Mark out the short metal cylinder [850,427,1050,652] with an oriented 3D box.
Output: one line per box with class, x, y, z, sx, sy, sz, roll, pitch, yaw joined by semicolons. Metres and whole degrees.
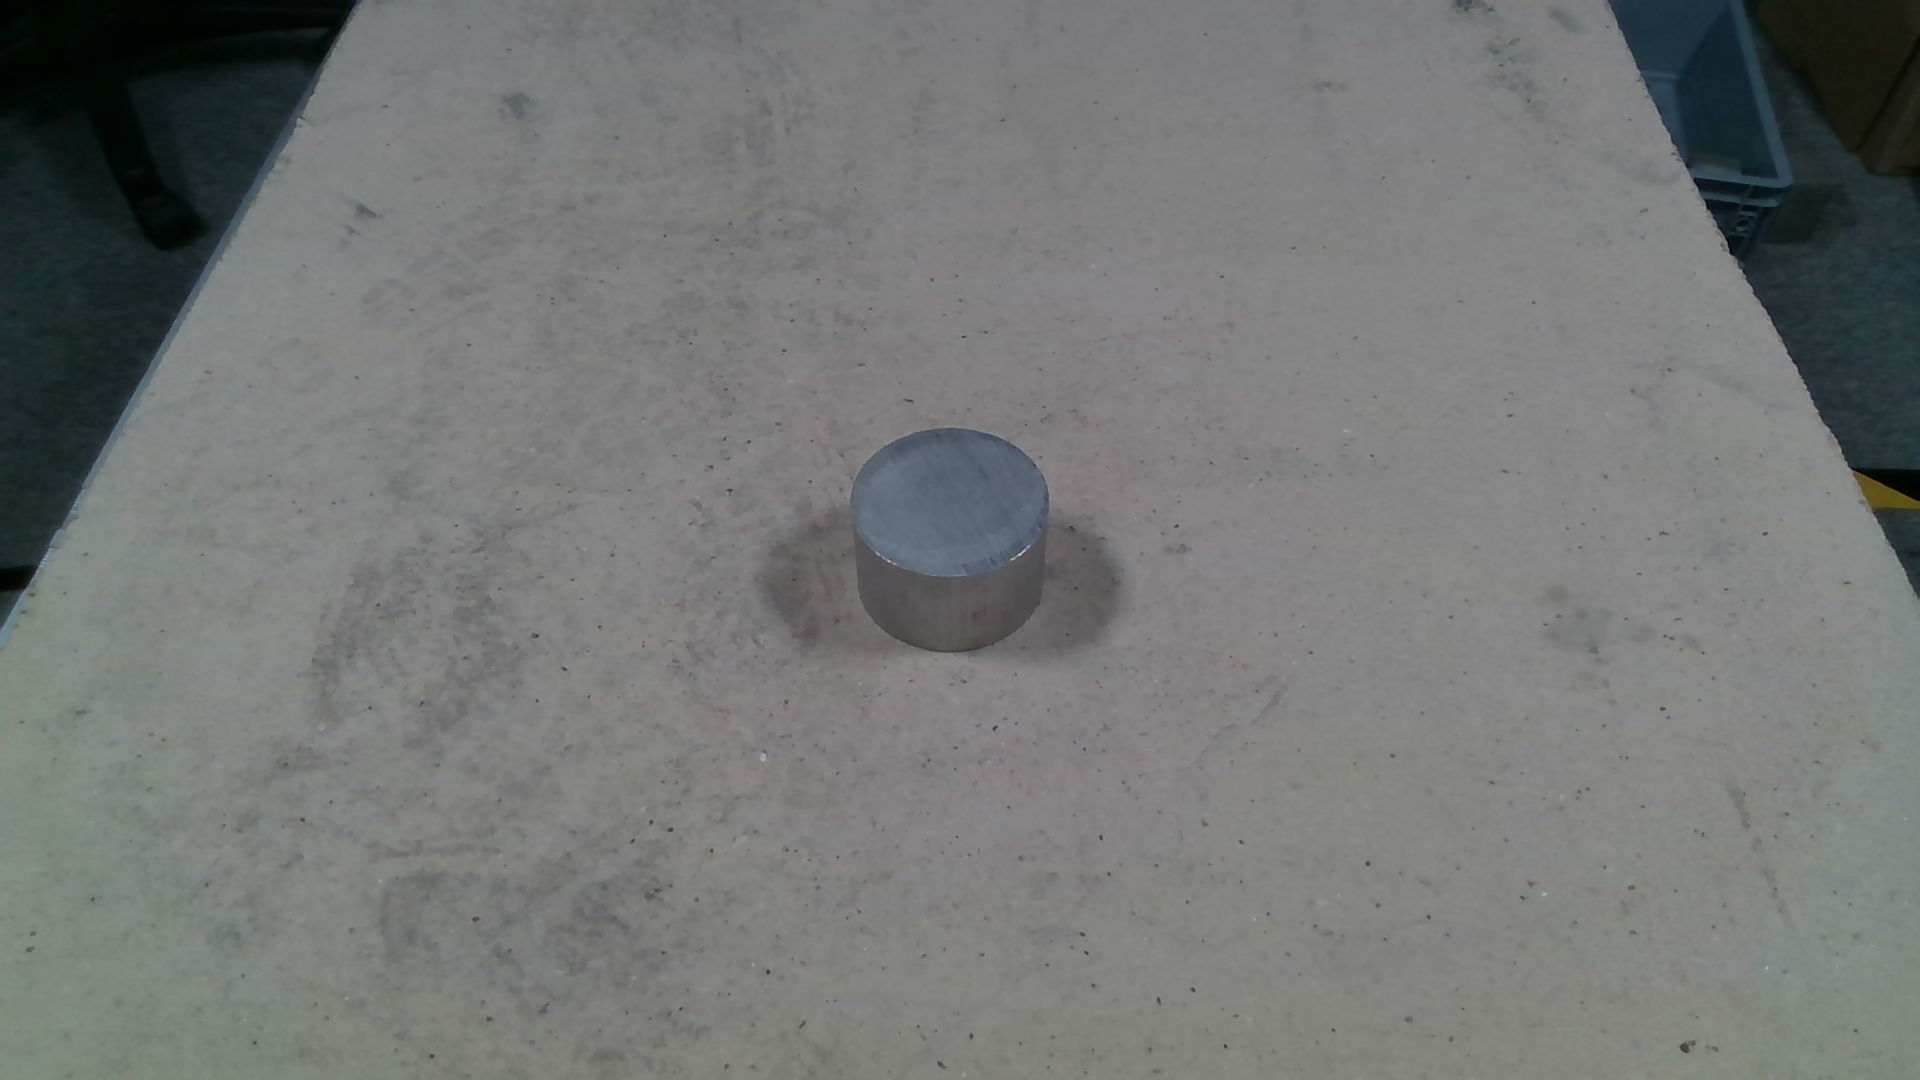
short metal cylinder;-0.004;-0.001;0.571;0.080;0.050;0.080;0;50;0
